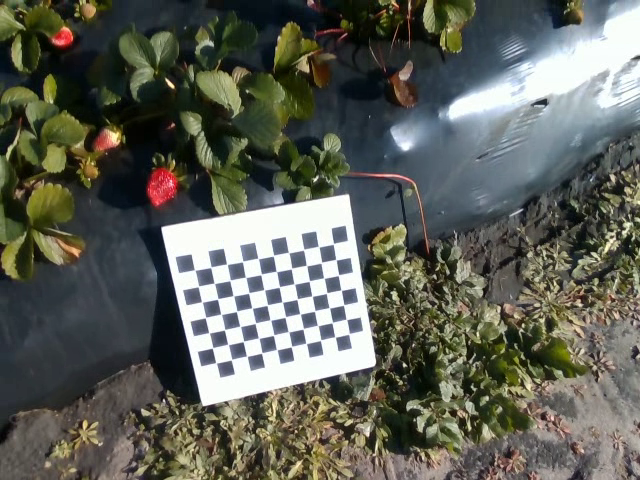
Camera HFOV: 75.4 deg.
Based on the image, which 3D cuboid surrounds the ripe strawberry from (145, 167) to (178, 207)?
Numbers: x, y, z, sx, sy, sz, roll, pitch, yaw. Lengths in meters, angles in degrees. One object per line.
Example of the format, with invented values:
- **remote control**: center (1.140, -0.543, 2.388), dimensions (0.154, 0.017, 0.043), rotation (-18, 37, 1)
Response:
- **ripe strawberry**: center (-0.218, -0.060, 0.563), dimensions (0.066, 0.058, 0.061), rotation (34, 28, -15)
